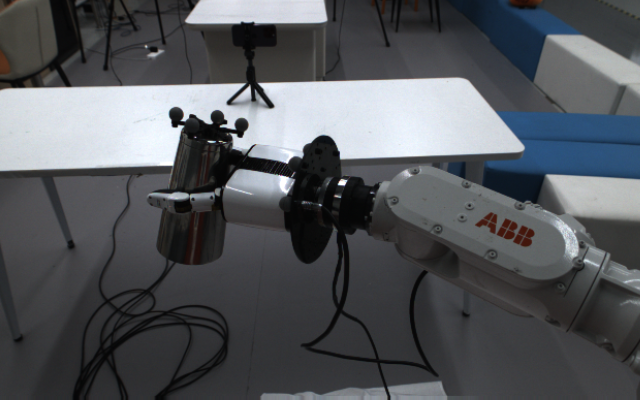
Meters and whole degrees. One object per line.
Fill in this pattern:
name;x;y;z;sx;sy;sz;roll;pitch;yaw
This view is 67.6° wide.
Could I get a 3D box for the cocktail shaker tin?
cocktail shaker tin;-0.161;-0.010;0.647;0.093;0.170;0.093;12;24;-5
